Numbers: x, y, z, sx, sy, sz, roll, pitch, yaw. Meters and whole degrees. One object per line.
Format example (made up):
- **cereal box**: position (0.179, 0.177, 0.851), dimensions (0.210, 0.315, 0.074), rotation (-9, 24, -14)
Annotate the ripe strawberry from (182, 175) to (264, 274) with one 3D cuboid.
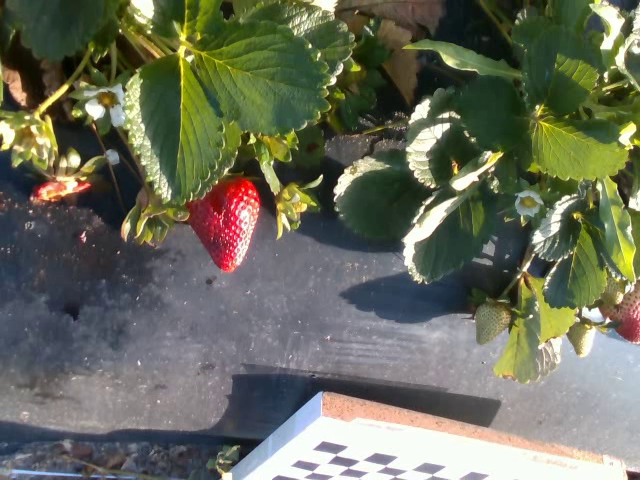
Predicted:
- **ripe strawberry**: position (-0.055, -0.005, 0.346), dimensions (0.052, 0.052, 0.041), rotation (-3, -7, 4)
